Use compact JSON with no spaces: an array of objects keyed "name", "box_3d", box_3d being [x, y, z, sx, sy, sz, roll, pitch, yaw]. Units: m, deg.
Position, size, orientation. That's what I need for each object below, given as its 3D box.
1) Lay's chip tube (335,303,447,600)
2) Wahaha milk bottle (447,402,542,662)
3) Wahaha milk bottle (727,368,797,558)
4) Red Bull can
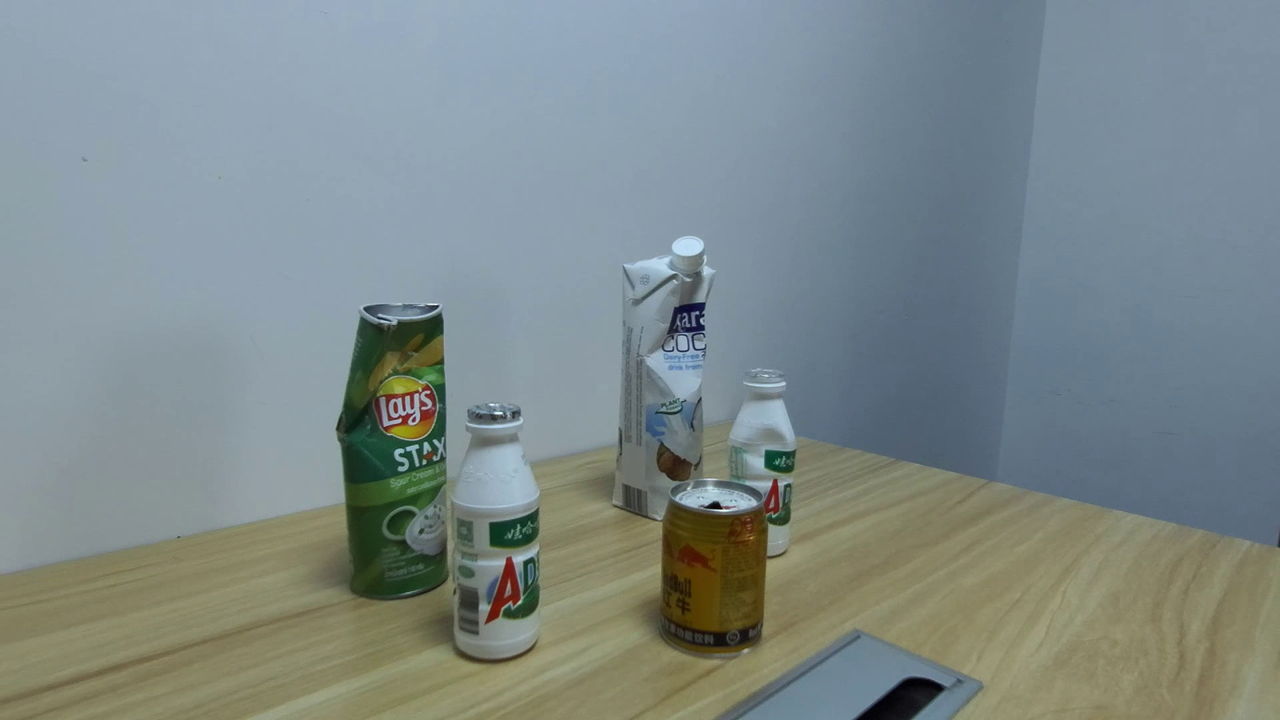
[{"name":"Lay's chip tube","box_3d":[-0.173,0.063,0.504,0.069,0.201,0.077,-1,10,-15]},{"name":"Wahaha milk bottle","box_3d":[-0.087,0.102,0.425,0.053,0.147,0.053,1,7,0]},{"name":"Wahaha milk bottle","box_3d":[0.099,0.082,0.571,0.055,0.149,0.055,2,11,0]},{"name":"Red Bull can","box_3d":[0.047,0.128,0.446,0.067,0.093,0.067,2,9,0]}]
